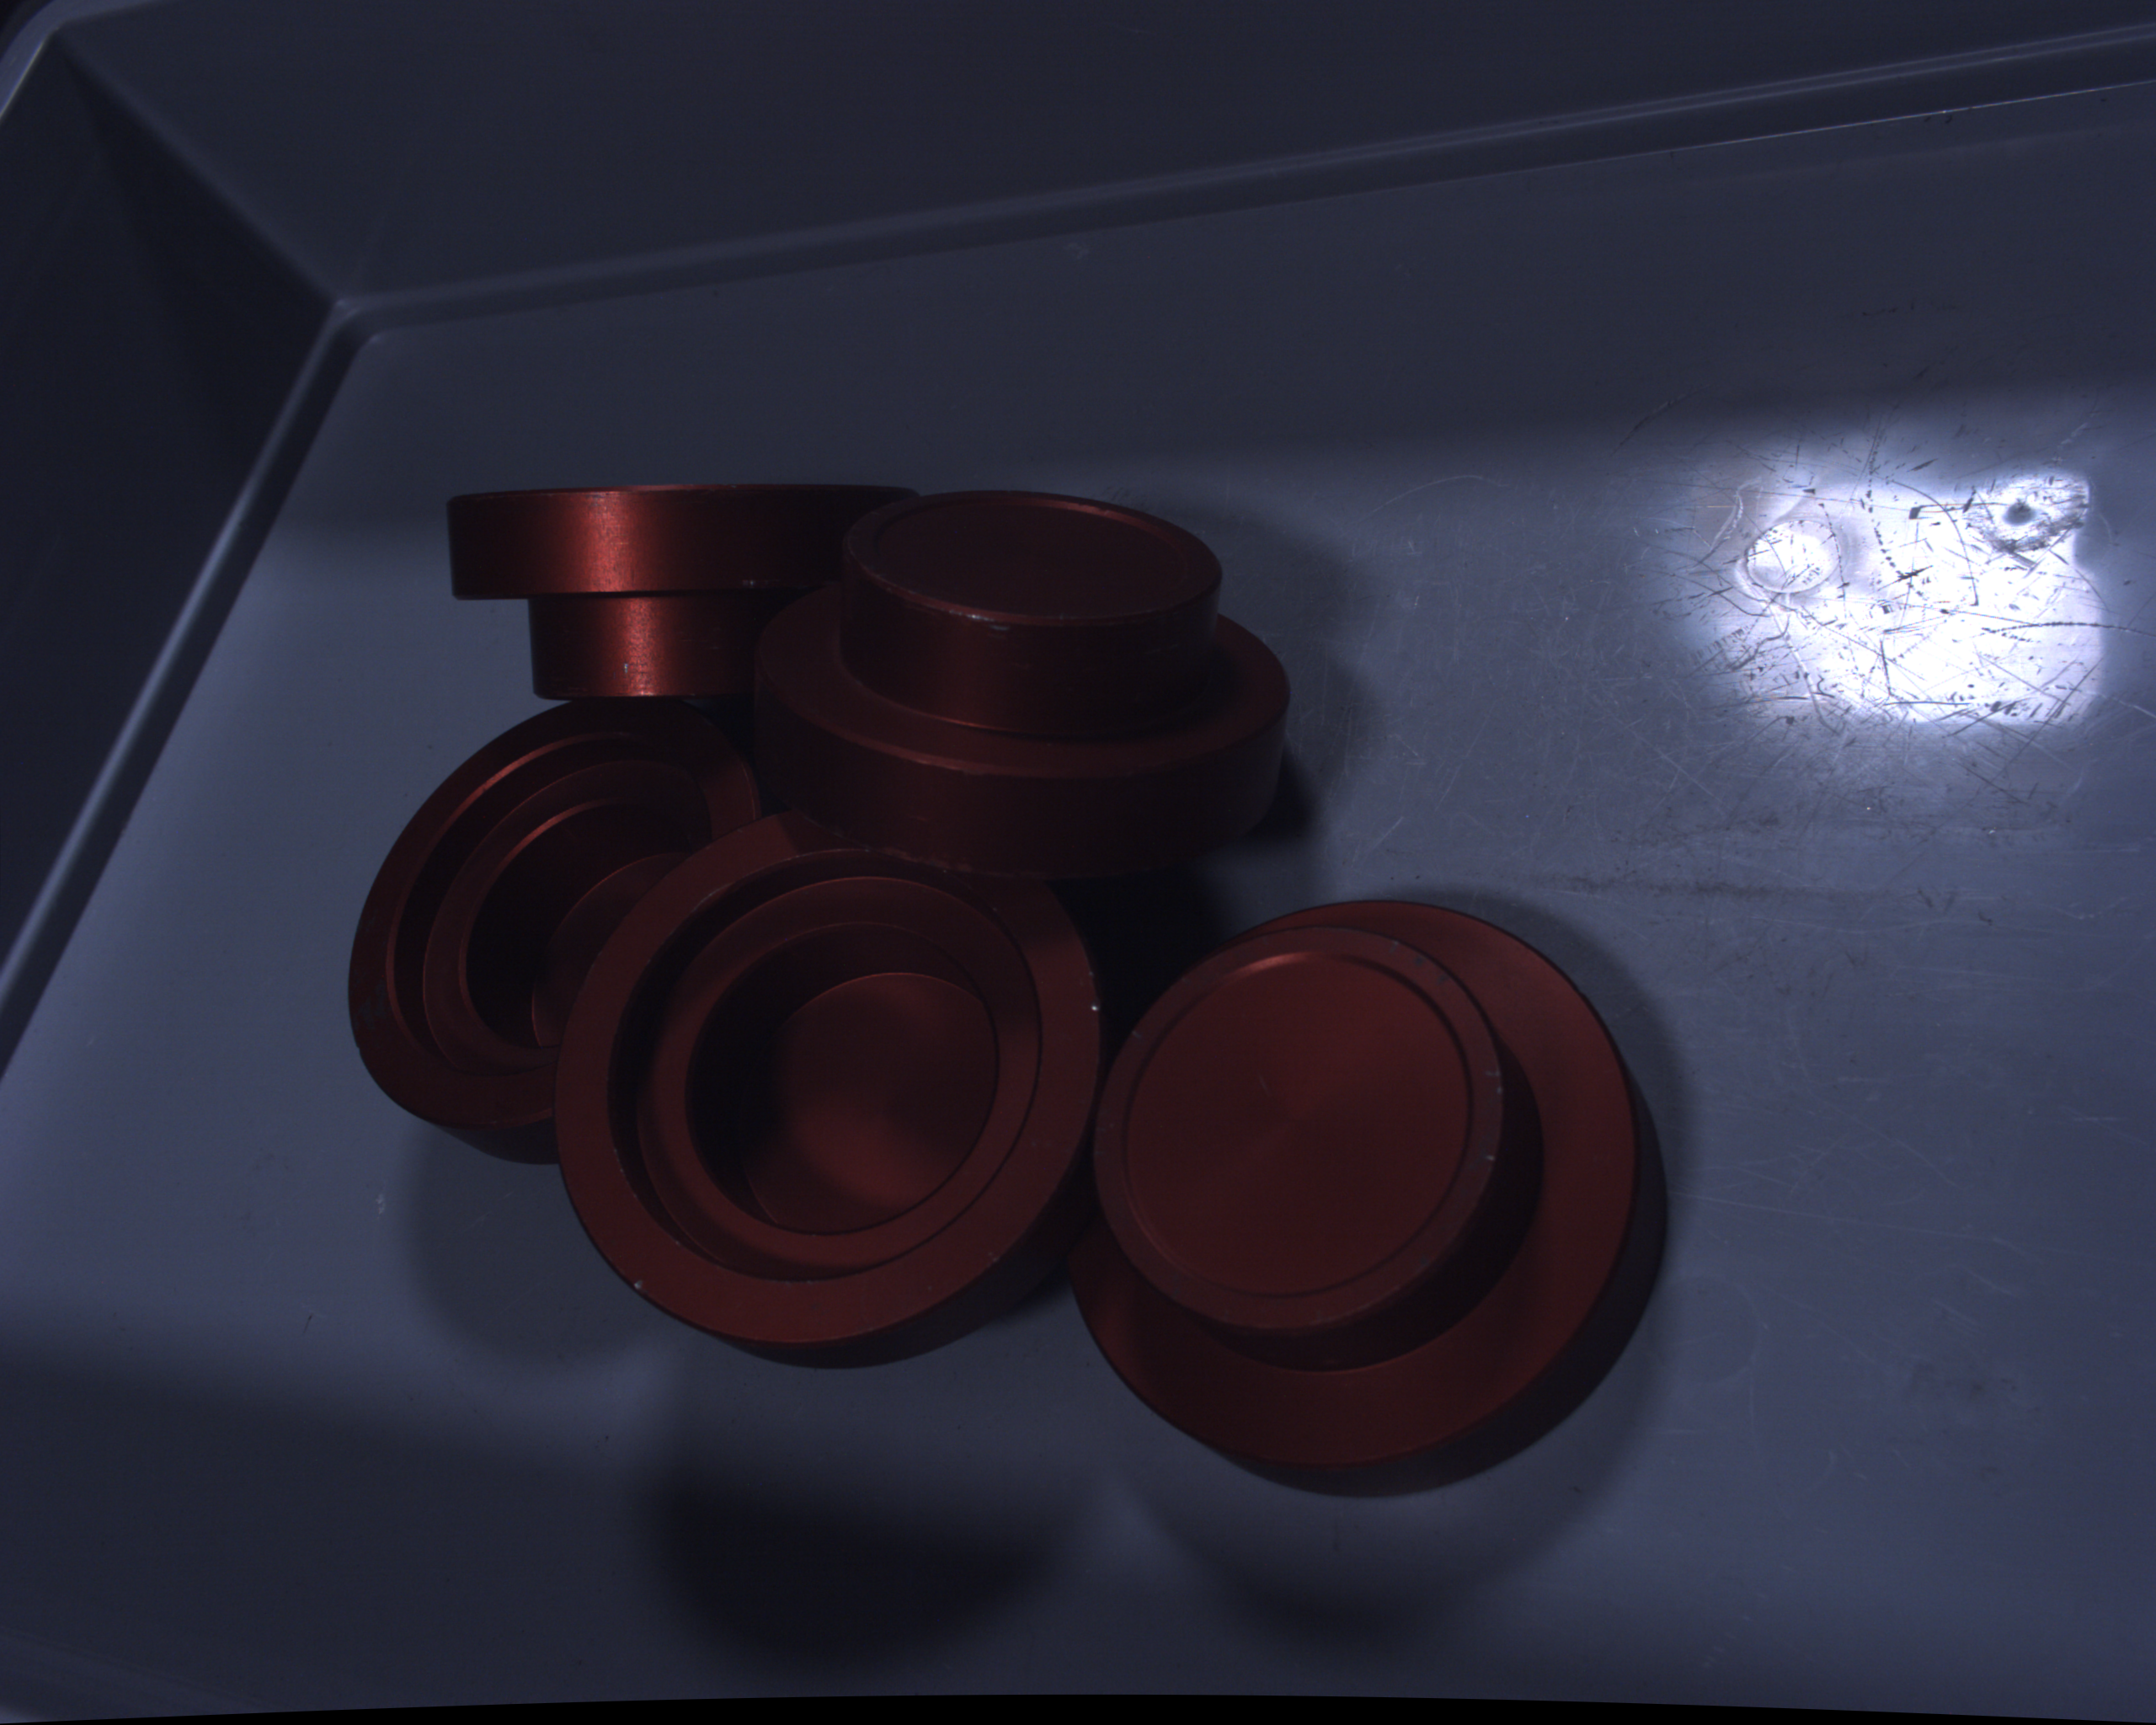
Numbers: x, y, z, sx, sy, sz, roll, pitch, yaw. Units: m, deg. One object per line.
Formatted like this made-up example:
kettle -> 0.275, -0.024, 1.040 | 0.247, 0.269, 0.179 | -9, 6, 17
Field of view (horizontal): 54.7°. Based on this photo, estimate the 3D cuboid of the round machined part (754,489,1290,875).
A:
round machined part -> -0.010, -0.039, 0.385 | 0.099, 0.042, 0.098 | 4, 27, -2

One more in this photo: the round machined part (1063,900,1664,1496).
round machined part -> 0.041, 0.049, 0.340 | 0.098, 0.042, 0.098 | -13, 56, 20

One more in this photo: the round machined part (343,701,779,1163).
round machined part -> -0.098, 0.017, 0.431 | 0.098, 0.042, 0.098 | -13, 56, 20

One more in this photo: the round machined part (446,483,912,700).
round machined part -> -0.083, -0.058, 0.447 | 0.098, 0.099, 0.042 | 3, 99, 29

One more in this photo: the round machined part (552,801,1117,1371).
round machined part -> -0.039, 0.041, 0.372 | 0.098, 0.042, 0.098 | -5, 67, 12
